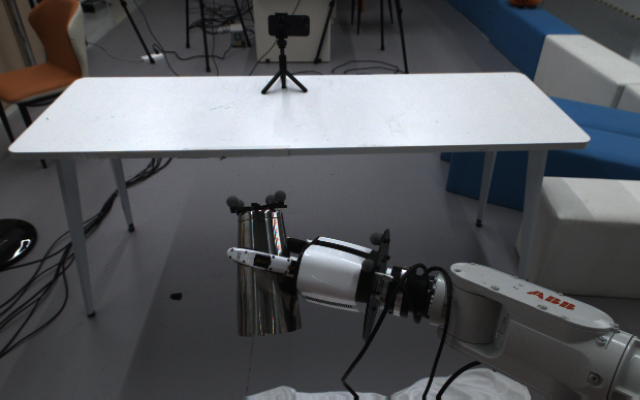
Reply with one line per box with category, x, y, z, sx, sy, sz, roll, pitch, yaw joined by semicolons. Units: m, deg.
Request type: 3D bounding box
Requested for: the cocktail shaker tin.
cocktail shaker tin;-0.080;0.104;0.701;0.093;0.170;0.093;-6;-7;-1
